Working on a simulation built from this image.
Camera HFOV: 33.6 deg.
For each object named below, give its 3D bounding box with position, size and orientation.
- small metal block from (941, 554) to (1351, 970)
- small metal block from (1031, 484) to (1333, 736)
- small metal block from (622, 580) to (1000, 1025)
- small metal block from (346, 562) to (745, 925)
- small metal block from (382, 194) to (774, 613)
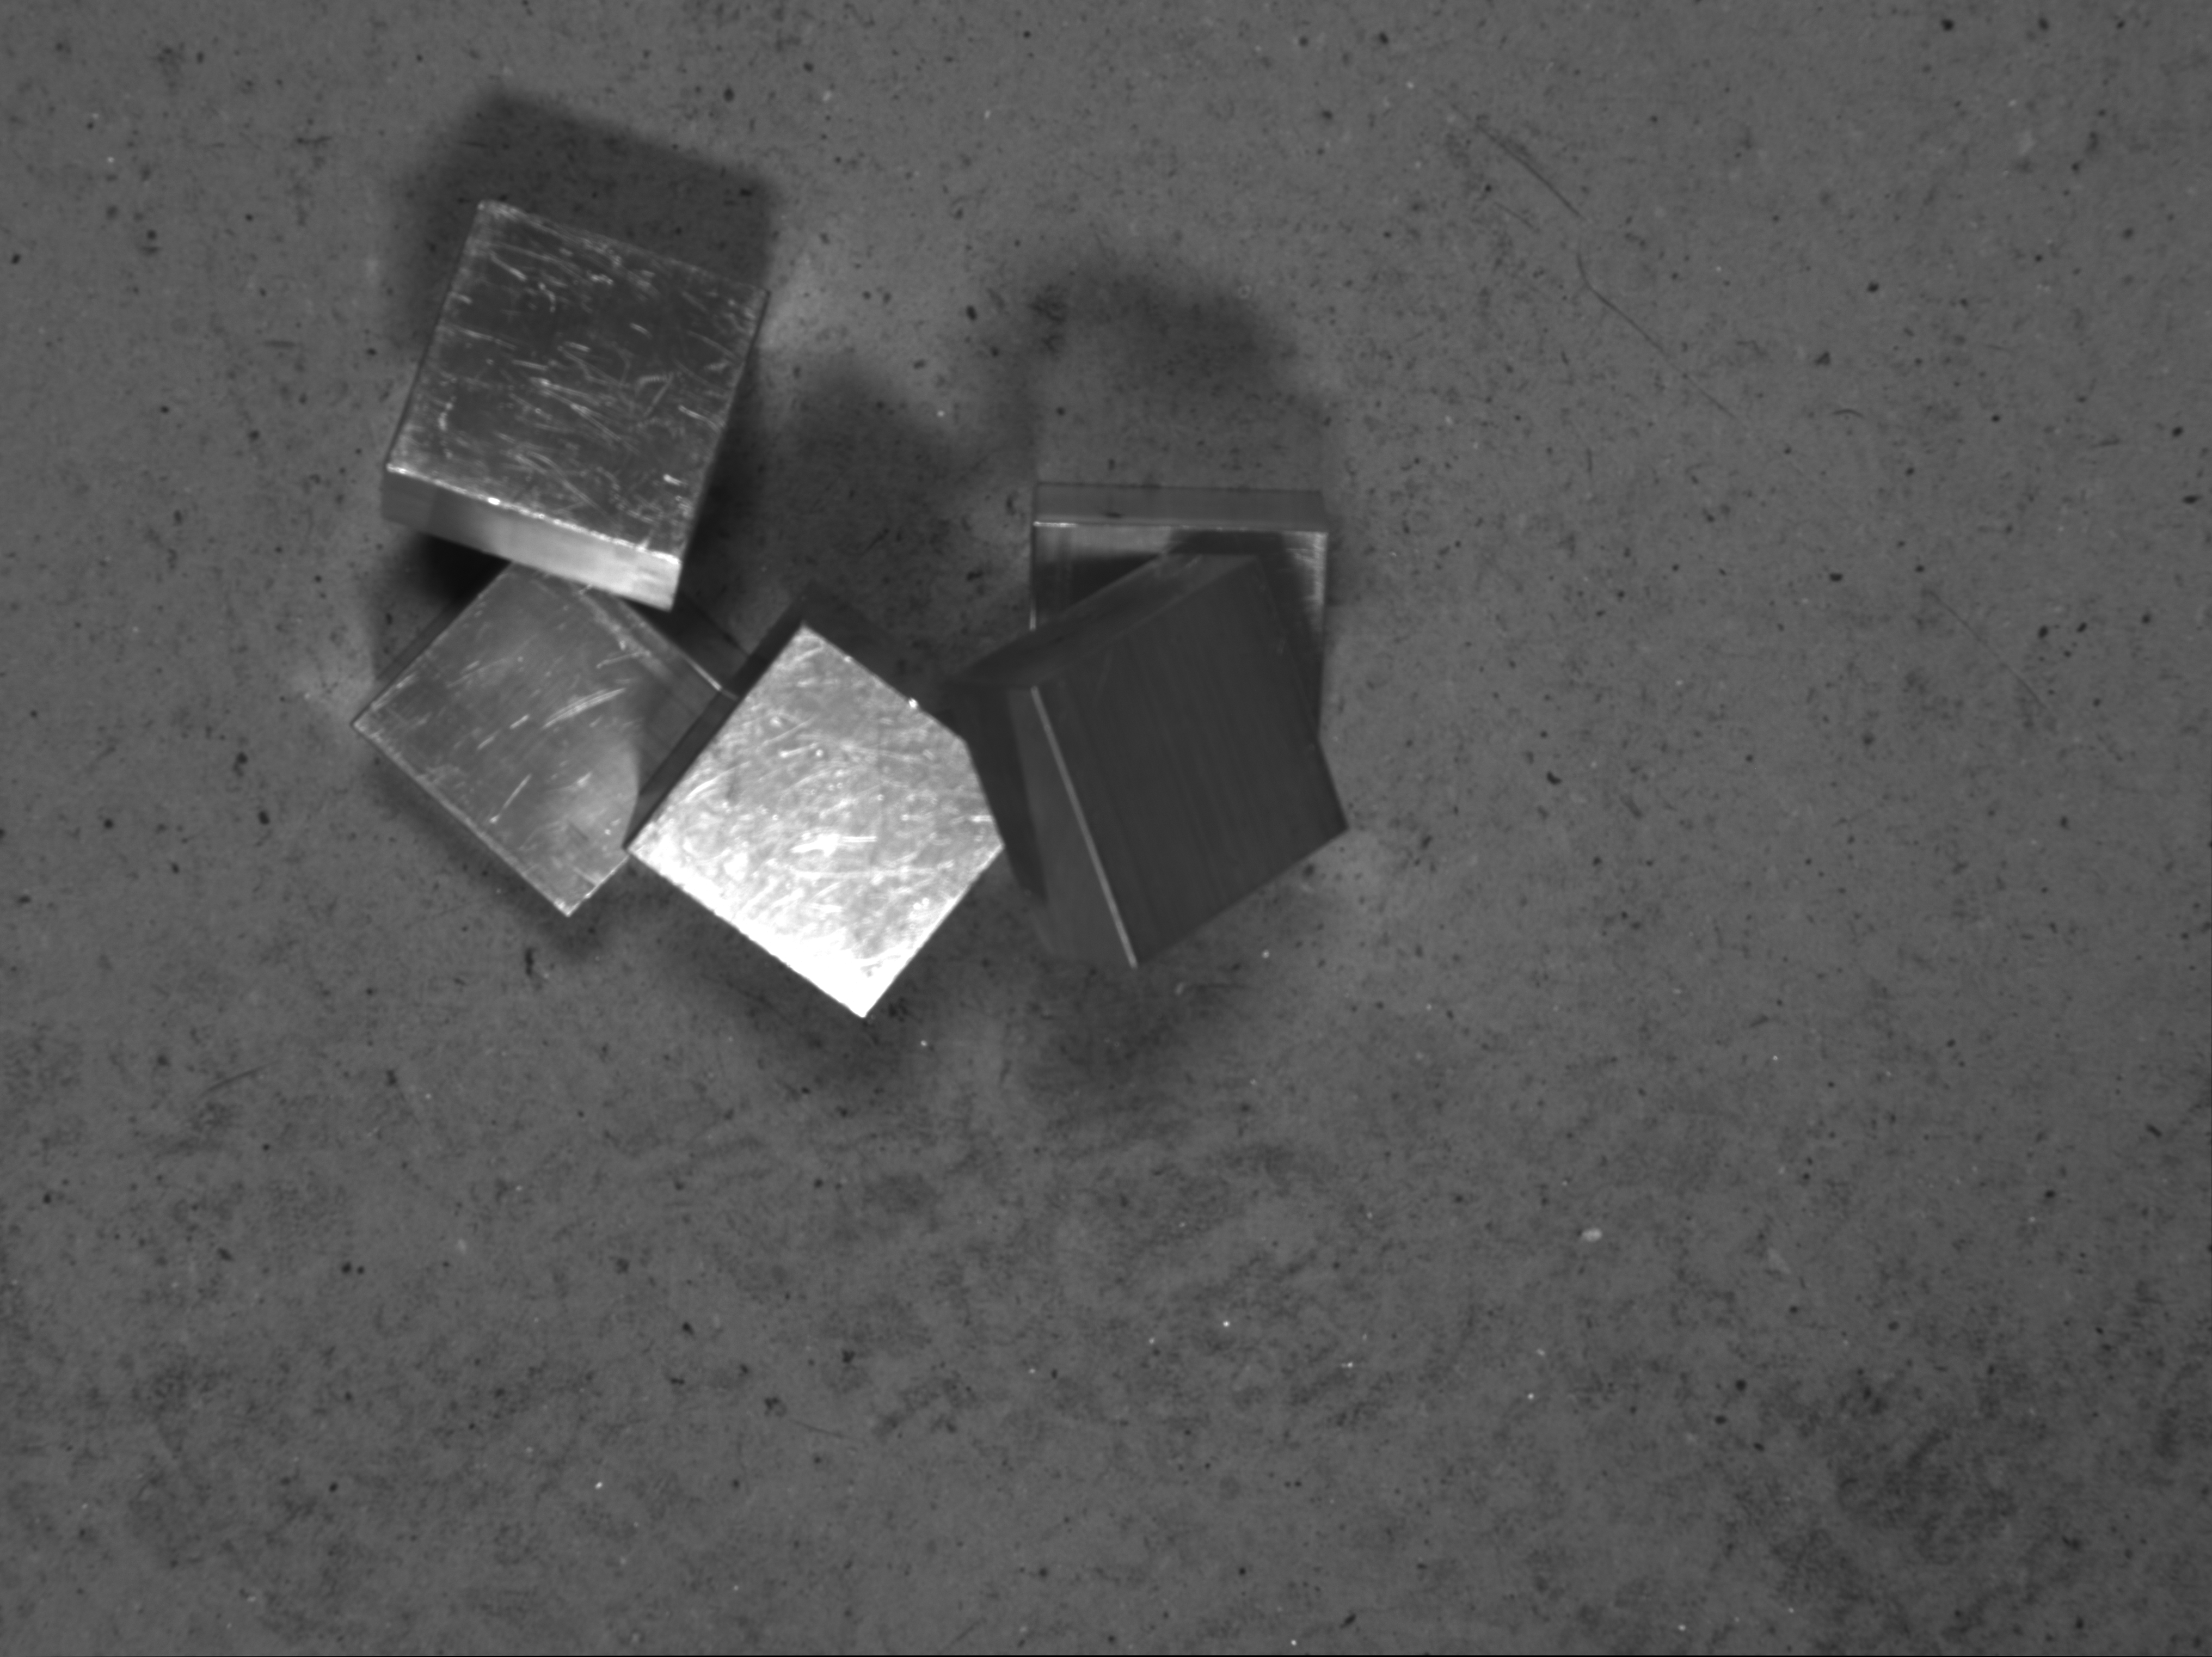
[{"bbox_3d":[0.007,-0.012,0.599,0.050,0.025,0.050,-32,113,-32],"label":"small metal block"},{"bbox_3d":[0.012,-0.031,0.632,0.050,0.025,0.050,2,110,-1],"label":"small metal block"},{"bbox_3d":[-0.045,-0.004,0.613,0.050,0.025,0.050,36,106,-13],"label":"small metal block"},{"bbox_3d":[-0.094,-0.021,0.634,0.050,0.025,0.050,-43,105,13],"label":"small metal block"},{"bbox_3d":[-0.087,-0.070,0.604,0.050,0.025,0.050,18,72,-7],"label":"small metal block"}]
